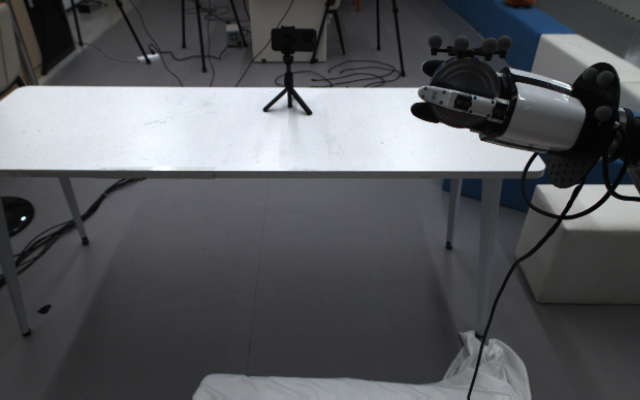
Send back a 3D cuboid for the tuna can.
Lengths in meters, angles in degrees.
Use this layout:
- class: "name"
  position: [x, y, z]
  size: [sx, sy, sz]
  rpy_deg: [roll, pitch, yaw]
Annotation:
- class: "tuna can"
  position: [0.179, -0.138, 0.608]
  size: [0.085, 0.085, 0.034]
  rpy_deg: [9, 24, 10]
